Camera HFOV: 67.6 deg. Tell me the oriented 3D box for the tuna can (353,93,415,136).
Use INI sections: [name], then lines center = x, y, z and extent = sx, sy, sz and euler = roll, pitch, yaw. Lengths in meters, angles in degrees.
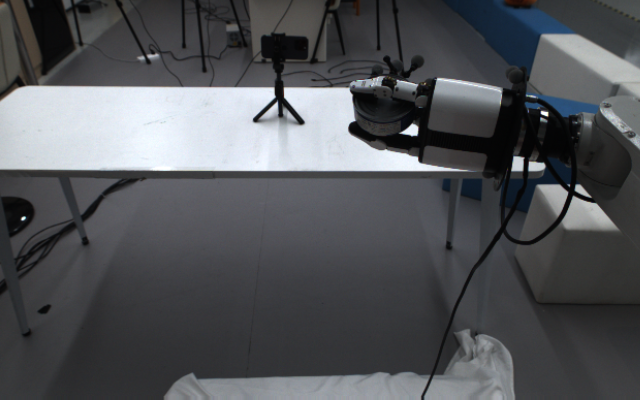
[tuna can]
center = 0.088, -0.131, 0.656
extent = 0.085, 0.034, 0.085
euler = -4, 56, 6
